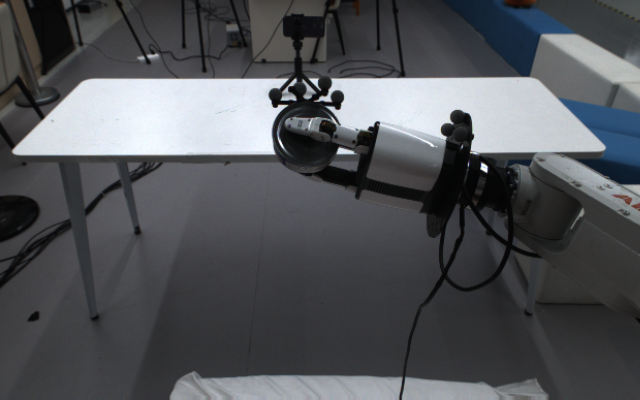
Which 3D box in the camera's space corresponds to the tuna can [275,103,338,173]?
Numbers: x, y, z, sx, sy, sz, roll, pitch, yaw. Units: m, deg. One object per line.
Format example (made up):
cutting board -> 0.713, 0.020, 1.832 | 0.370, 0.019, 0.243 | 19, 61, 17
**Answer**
tuna can -> -0.015, -0.074, 0.601 | 0.085, 0.034, 0.085 | 1, 71, -4
